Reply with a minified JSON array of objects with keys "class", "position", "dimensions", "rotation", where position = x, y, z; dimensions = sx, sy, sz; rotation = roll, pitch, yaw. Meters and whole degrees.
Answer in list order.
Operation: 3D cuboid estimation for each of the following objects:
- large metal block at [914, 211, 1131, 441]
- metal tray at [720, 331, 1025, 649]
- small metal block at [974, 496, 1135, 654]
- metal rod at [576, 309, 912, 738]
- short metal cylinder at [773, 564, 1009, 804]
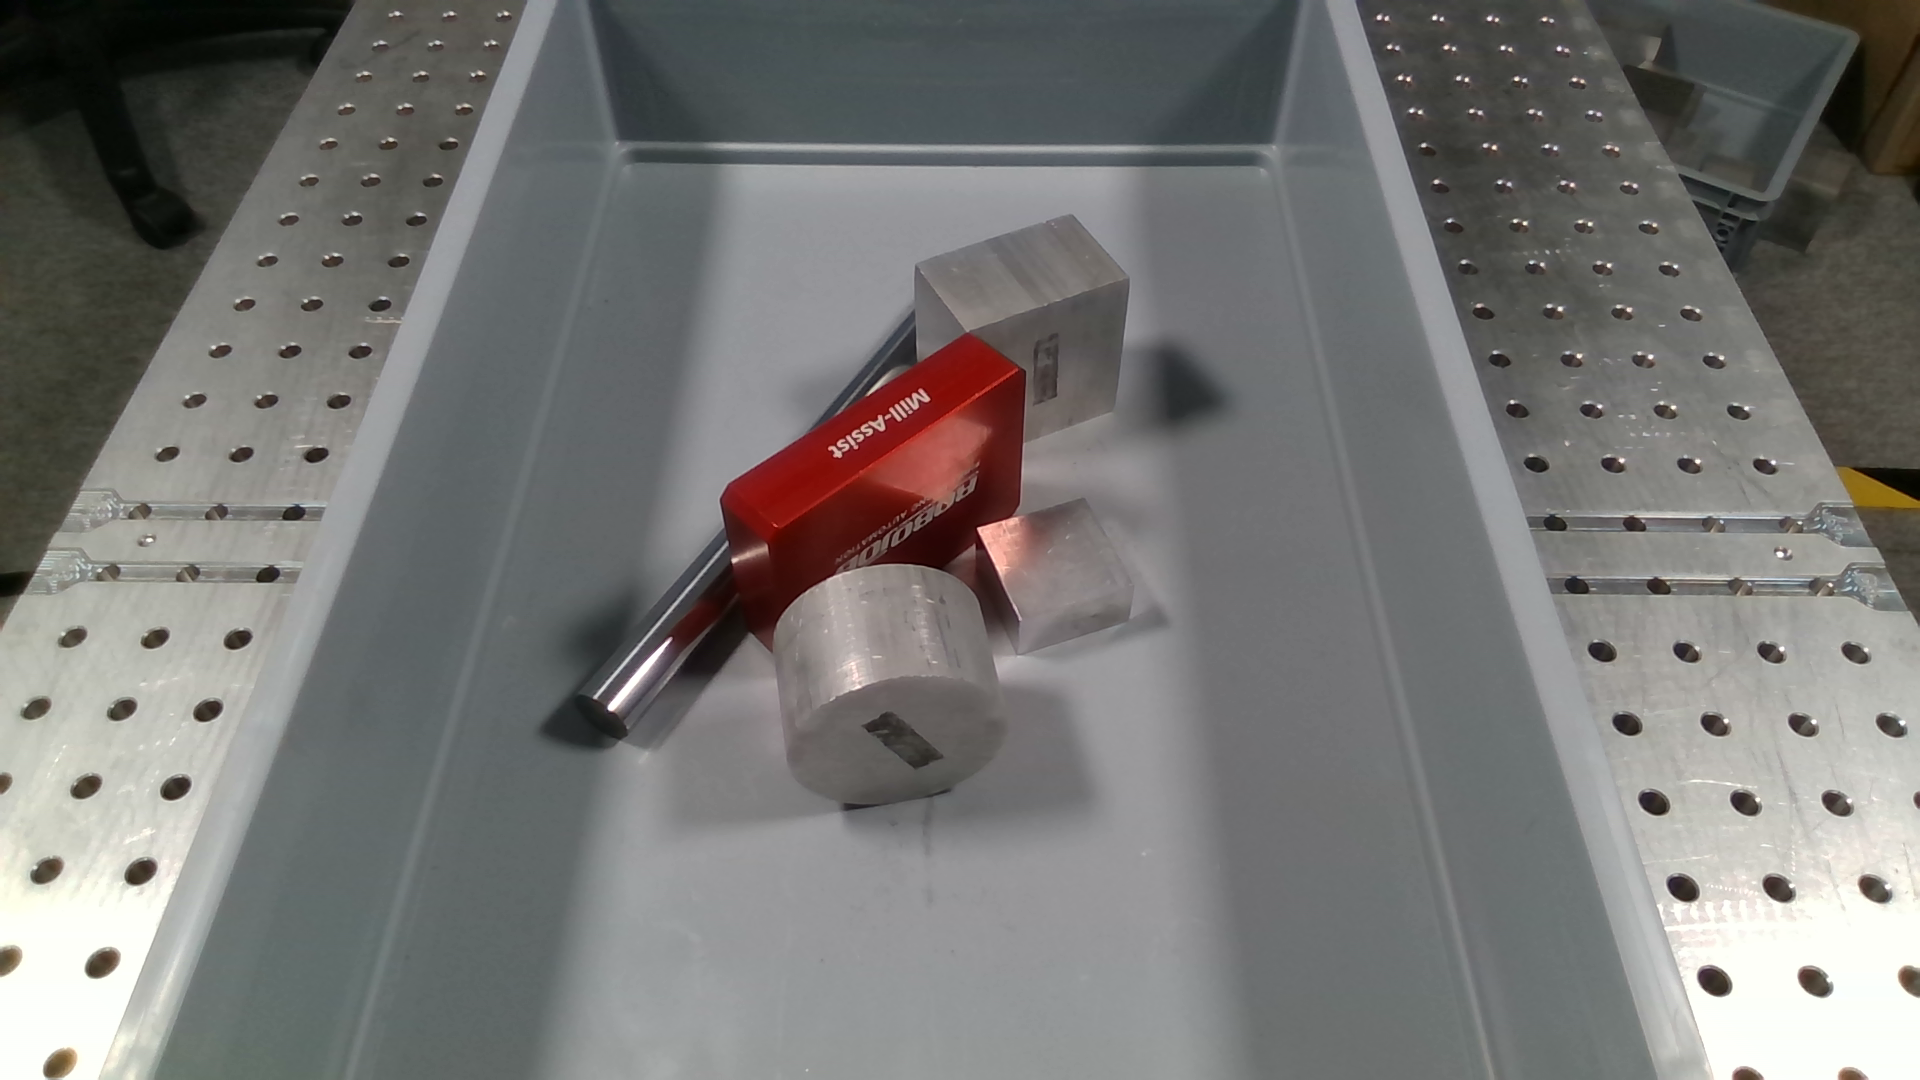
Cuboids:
[{"class":"large metal block","position":[0.027,-0.092,0.626],"dimensions":[0.080,0.080,0.050],"rotation":[-21,53,-17]},{"class":"metal tray","position":[-0.031,-0.016,0.556],"dimensions":[0.130,0.090,0.030],"rotation":[-36,59,-26]},{"class":"small metal block","position":[0.038,0.014,0.573],"dimensions":[0.050,0.025,0.050],"rotation":[-16,52,-13]},{"class":"metal rod","position":[-0.066,-0.033,0.613],"dimensions":[0.025,0.025,0.299],"rotation":[23,54,18]},{"class":"short metal cylinder","position":[-0.027,0.054,0.505],"dimensions":[0.080,0.080,0.050],"rotation":[-9,50,-7]}]
